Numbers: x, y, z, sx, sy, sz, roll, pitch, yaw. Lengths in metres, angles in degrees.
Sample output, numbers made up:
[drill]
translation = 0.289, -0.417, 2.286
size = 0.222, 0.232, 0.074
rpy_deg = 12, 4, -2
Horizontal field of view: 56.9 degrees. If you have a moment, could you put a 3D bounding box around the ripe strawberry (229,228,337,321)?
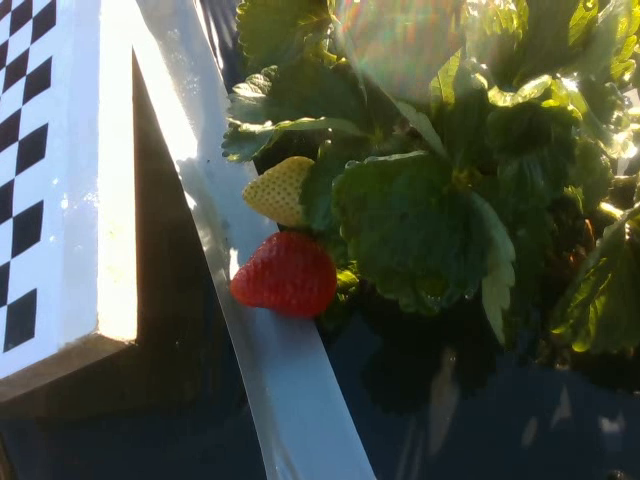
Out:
[ripe strawberry]
translation = -0.018, 0.016, 0.264
size = 0.045, 0.049, 0.063
rpy_deg = 0, 9, 38
